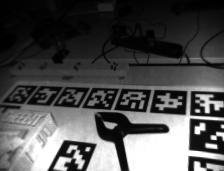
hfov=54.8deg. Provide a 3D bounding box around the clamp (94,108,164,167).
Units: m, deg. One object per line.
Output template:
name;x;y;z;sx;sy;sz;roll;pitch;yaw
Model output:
clamp;0.019;0.114;0.610;0.200;0.037;0.166;26;52;39

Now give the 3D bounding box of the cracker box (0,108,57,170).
cracker box;-0.282;0.161;0.600;0.163;0.072;0.214;1;41;19
